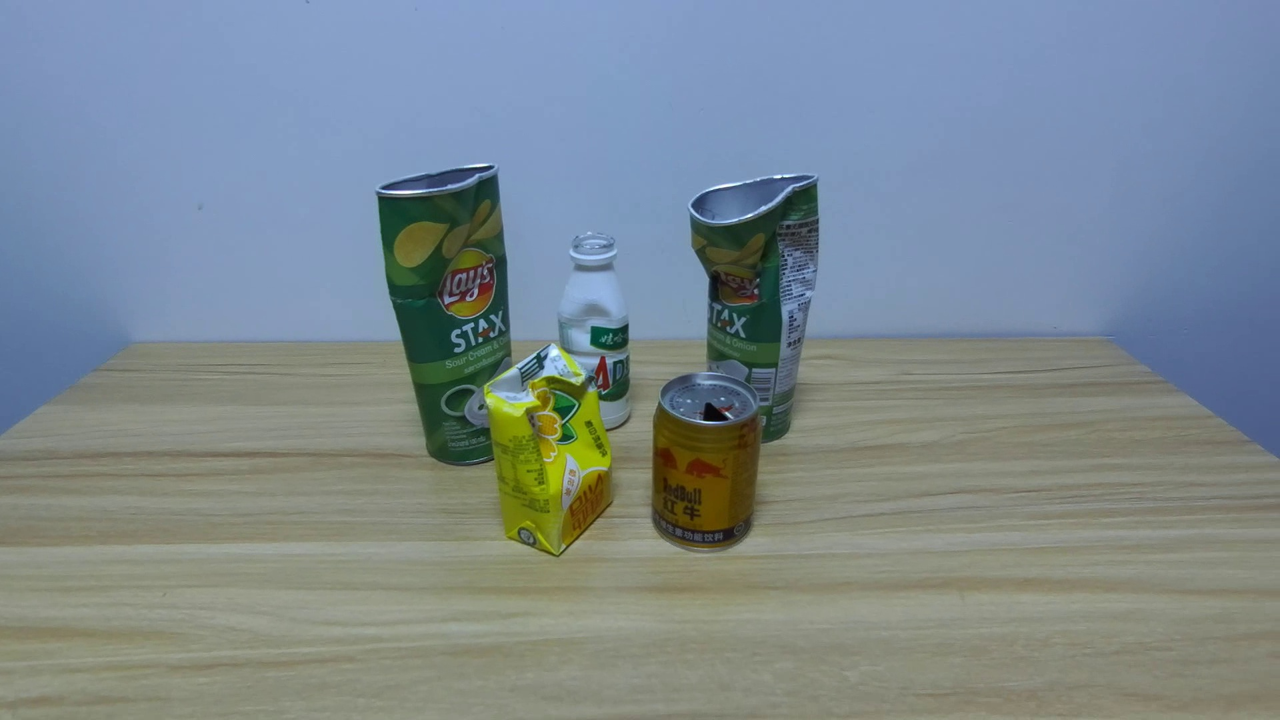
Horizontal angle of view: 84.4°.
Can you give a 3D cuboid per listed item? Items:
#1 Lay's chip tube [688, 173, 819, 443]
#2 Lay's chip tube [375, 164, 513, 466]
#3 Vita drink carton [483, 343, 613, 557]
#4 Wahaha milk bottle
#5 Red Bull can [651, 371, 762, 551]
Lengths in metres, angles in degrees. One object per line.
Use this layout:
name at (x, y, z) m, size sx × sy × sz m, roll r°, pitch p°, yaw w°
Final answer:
Lay's chip tube at (0.080, -0.033, 0.515) m, size 0.078 × 0.200 × 0.071 m, roll 14°, pitch 38°, yaw 29°
Lay's chip tube at (-0.129, -0.028, 0.500) m, size 0.069 × 0.199 × 0.074 m, roll -1°, pitch 28°, yaw -3°
Vita drink carton at (-0.052, 0.055, 0.437) m, size 0.046 × 0.110 × 0.071 m, roll 13°, pitch 31°, yaw 29°
Wahaha milk bottle at (-0.033, -0.019, 0.532) m, size 0.055 × 0.149 × 0.055 m, roll 0°, pitch 24°, yaw 0°
Red Bull can at (0.041, 0.062, 0.439) m, size 0.067 × 0.093 × 0.067 m, roll 1°, pitch 27°, yaw 0°
